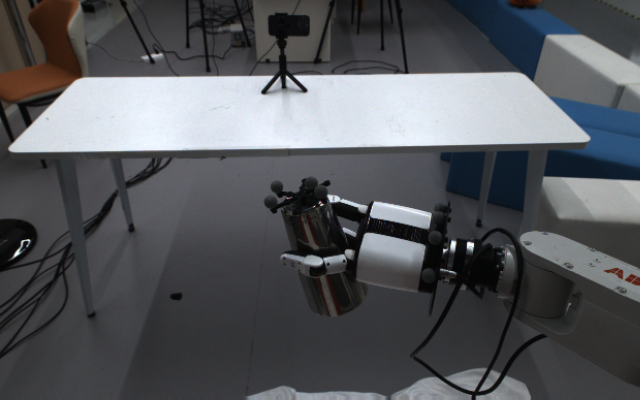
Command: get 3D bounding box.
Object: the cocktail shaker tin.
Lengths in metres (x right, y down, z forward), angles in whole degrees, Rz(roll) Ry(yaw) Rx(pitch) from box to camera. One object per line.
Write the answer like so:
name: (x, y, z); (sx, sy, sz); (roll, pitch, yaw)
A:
cocktail shaker tin: (0.003, 0.071, 0.686); (0.093, 0.170, 0.093); (-15, 29, 8)
